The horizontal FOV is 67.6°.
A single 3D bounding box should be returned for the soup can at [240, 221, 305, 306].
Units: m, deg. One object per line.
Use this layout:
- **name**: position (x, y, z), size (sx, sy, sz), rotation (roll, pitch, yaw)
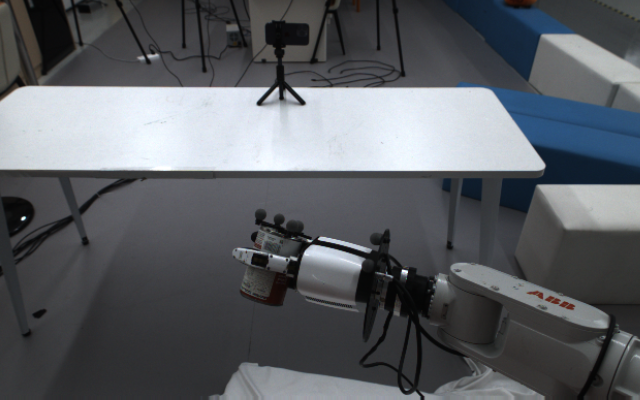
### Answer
- **soup can**: position (-0.070, 0.097, 0.706), size (0.067, 0.101, 0.067), rotation (17, -1, 0)
